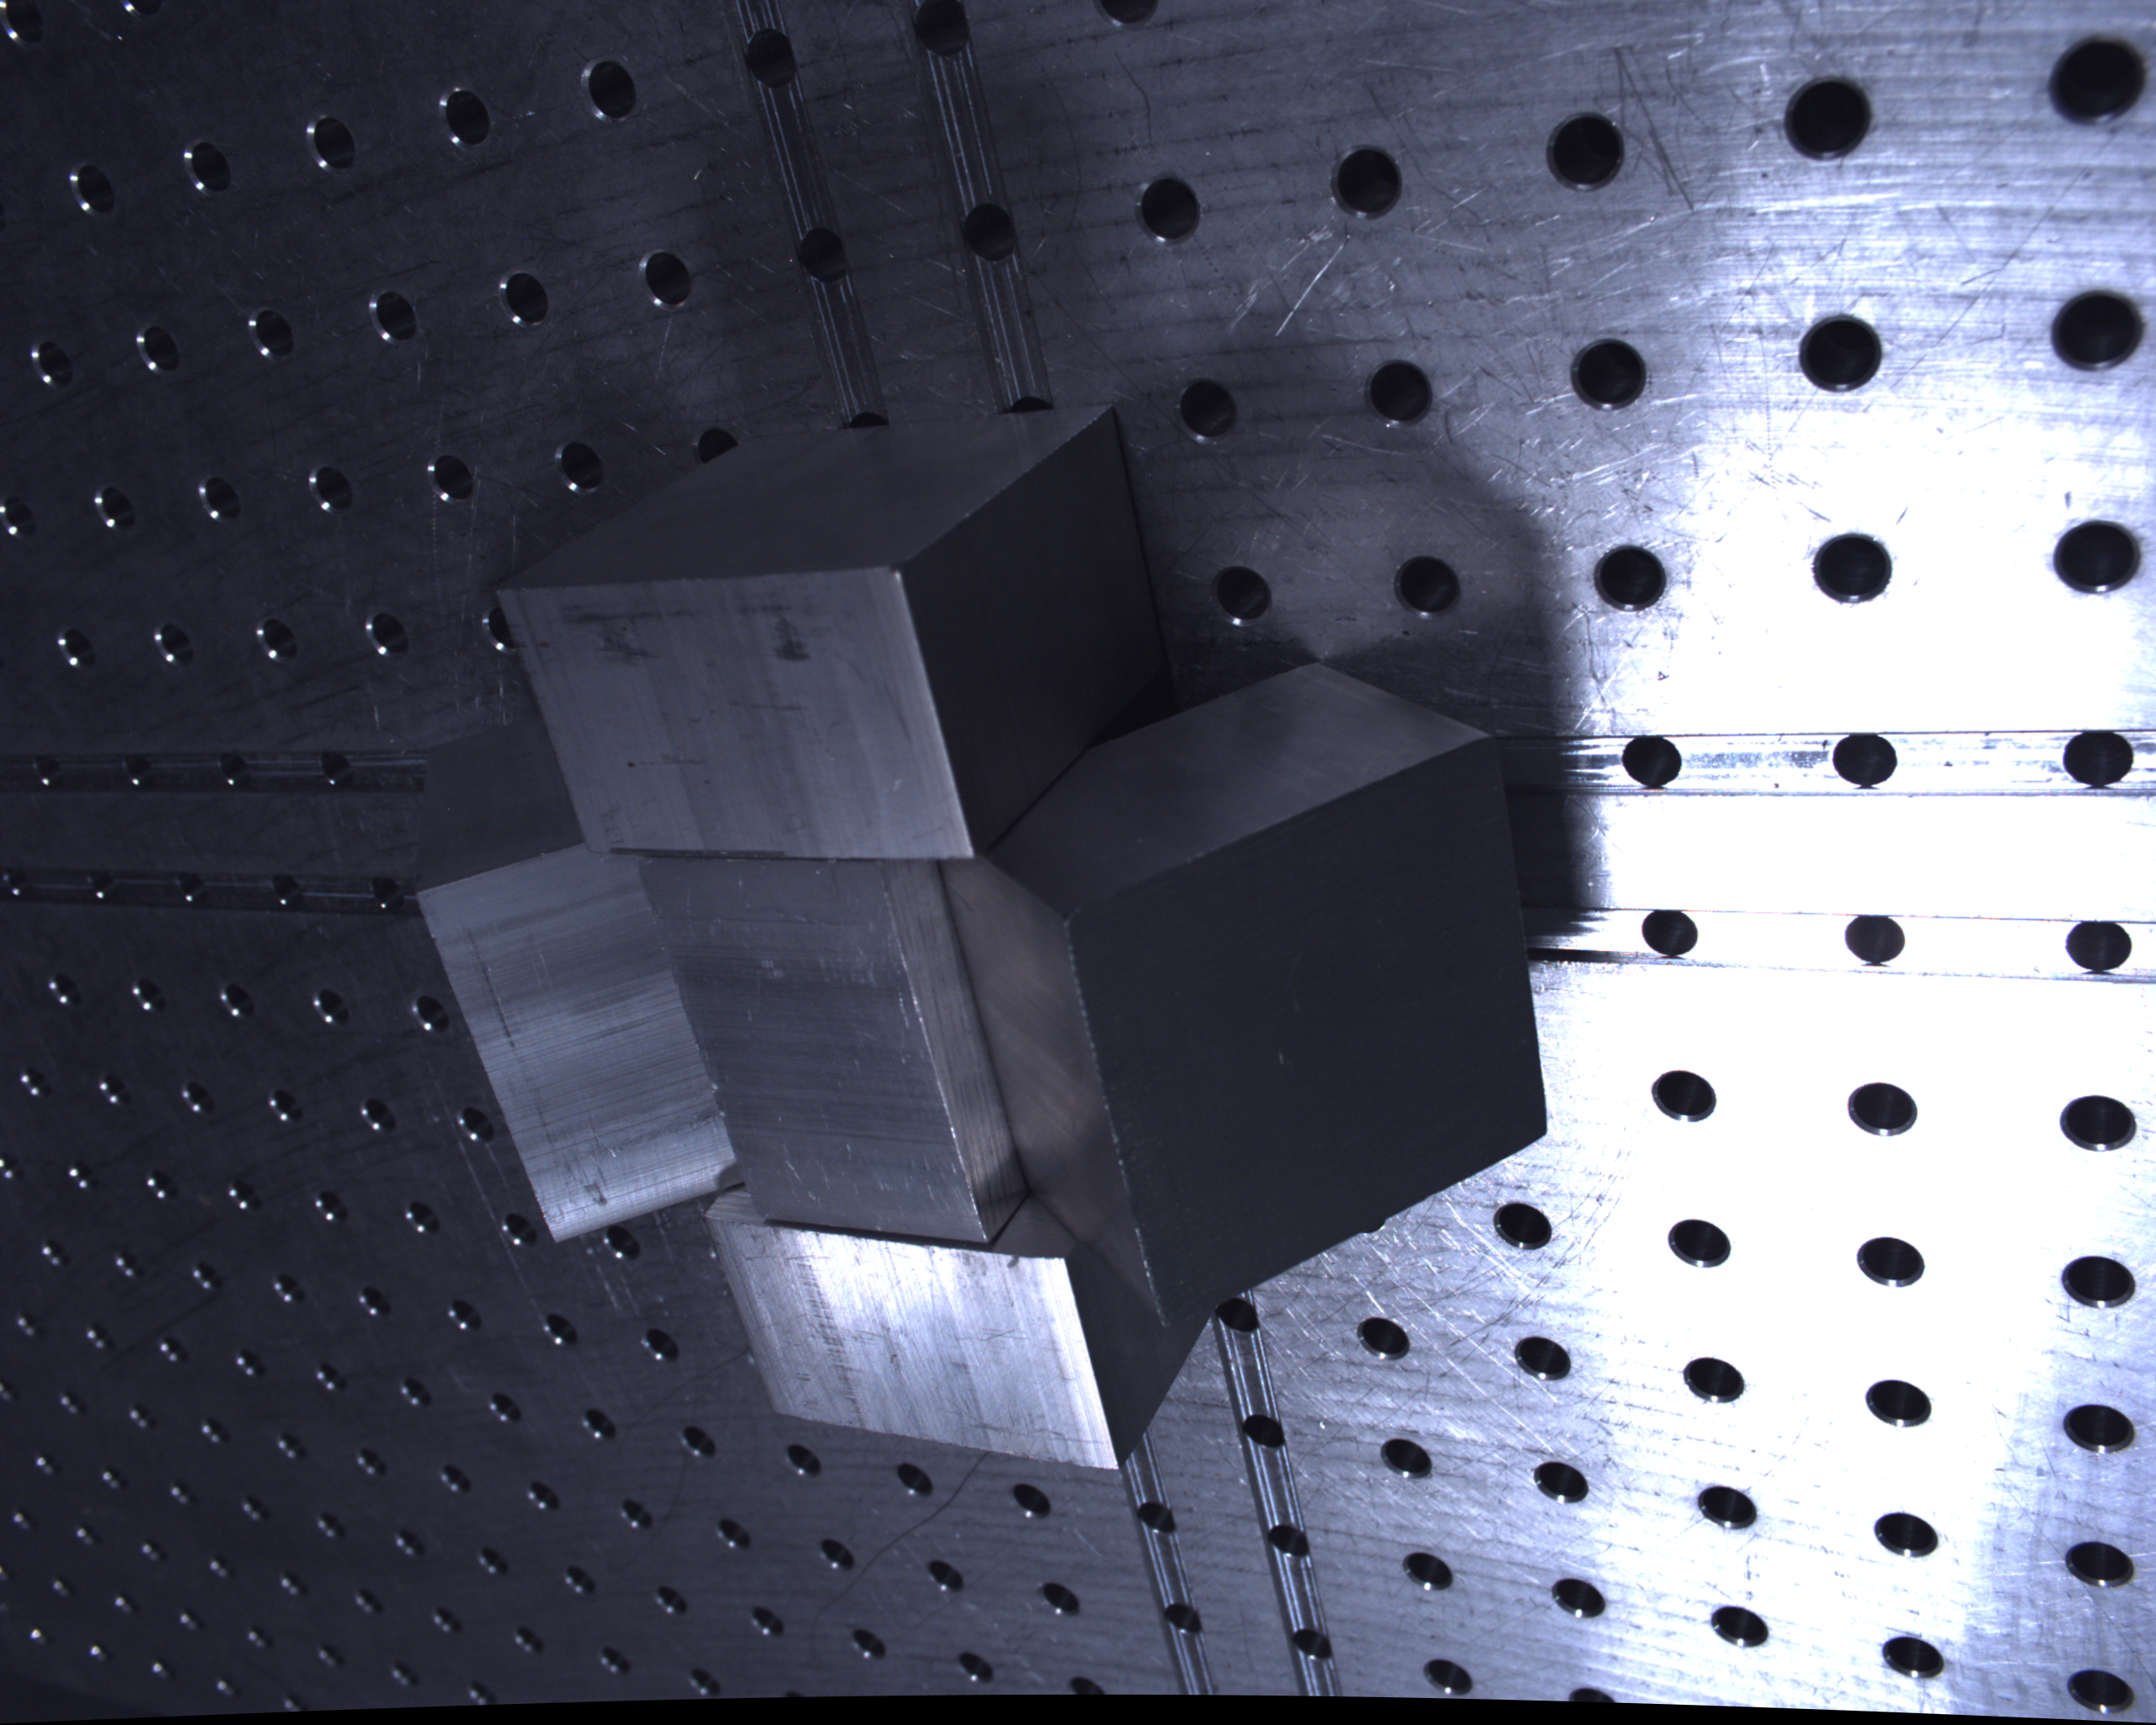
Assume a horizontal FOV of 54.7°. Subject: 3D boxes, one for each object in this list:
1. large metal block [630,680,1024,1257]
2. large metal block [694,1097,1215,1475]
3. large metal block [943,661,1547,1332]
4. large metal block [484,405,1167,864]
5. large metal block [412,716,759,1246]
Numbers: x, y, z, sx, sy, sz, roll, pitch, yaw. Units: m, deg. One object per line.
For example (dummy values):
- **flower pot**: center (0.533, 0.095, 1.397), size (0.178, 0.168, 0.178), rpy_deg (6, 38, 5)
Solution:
- **large metal block**: center (-0.030, 0.016, 0.399), size (0.050, 0.080, 0.079), rpy_deg (1, 119, 27)
- **large metal block**: center (-0.017, 0.072, 0.426), size (0.080, 0.080, 0.050), rpy_deg (1, 119, 27)
- **large metal block**: center (0.029, 0.020, 0.361), size (0.050, 0.081, 0.079), rpy_deg (33, 141, 57)
- **large metal block**: center (-0.041, -0.041, 0.369), size (0.080, 0.080, 0.050), rpy_deg (1, 119, 27)
- **large metal block**: center (-0.096, 0.017, 0.426), size (0.050, 0.080, 0.080), rpy_deg (-17, 116, -8)
